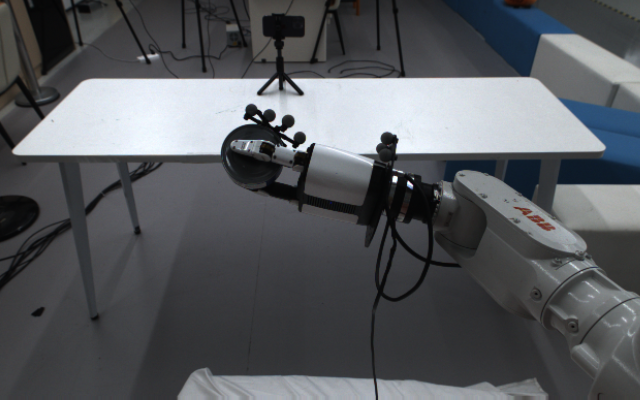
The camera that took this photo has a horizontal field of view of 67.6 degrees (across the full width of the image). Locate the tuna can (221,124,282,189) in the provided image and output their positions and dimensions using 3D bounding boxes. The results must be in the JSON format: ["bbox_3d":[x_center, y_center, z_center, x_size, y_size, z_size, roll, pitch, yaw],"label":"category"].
[{"bbox_3d":[-0.092,-0.059,0.670,0.085,0.034,0.085,1,75,-4],"label":"tuna can"}]
